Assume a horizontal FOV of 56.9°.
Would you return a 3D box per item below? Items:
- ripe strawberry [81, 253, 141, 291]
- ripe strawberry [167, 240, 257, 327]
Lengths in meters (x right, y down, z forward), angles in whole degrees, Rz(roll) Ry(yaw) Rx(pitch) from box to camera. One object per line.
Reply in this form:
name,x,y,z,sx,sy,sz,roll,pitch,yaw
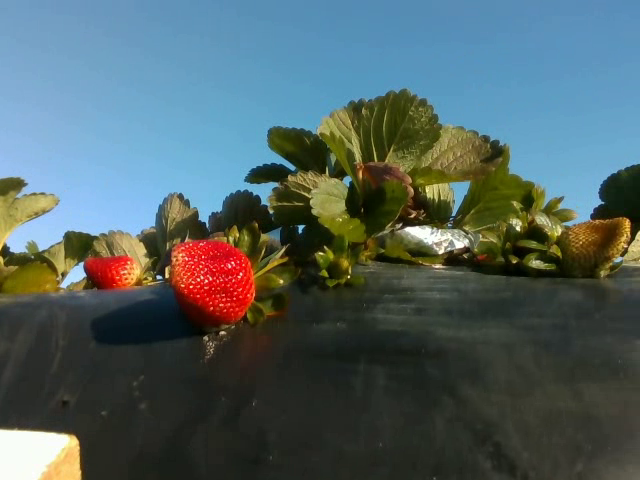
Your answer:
ripe strawberry,-0.142,0.021,0.403,0.046,0.036,0.035,11,9,1
ripe strawberry,-0.053,0.020,0.264,0.042,0.042,0.058,11,1,24
